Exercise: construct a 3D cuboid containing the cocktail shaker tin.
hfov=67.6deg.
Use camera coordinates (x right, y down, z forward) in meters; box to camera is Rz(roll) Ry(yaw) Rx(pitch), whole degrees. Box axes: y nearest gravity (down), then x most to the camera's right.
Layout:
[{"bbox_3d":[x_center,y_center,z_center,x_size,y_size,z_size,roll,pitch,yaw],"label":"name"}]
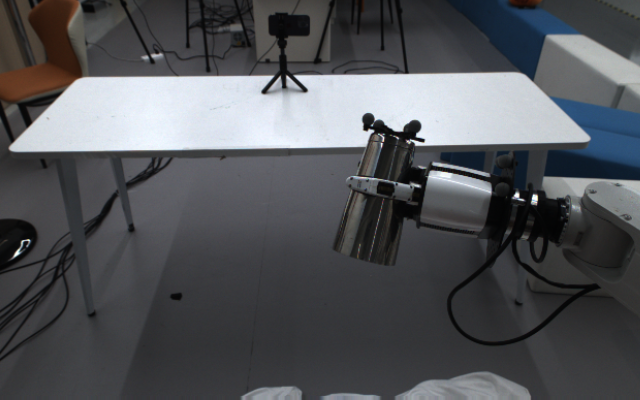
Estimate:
[{"bbox_3d":[0.081,-0.004,0.680,0.093,0.170,0.093,14,2,0],"label":"cocktail shaker tin"}]
